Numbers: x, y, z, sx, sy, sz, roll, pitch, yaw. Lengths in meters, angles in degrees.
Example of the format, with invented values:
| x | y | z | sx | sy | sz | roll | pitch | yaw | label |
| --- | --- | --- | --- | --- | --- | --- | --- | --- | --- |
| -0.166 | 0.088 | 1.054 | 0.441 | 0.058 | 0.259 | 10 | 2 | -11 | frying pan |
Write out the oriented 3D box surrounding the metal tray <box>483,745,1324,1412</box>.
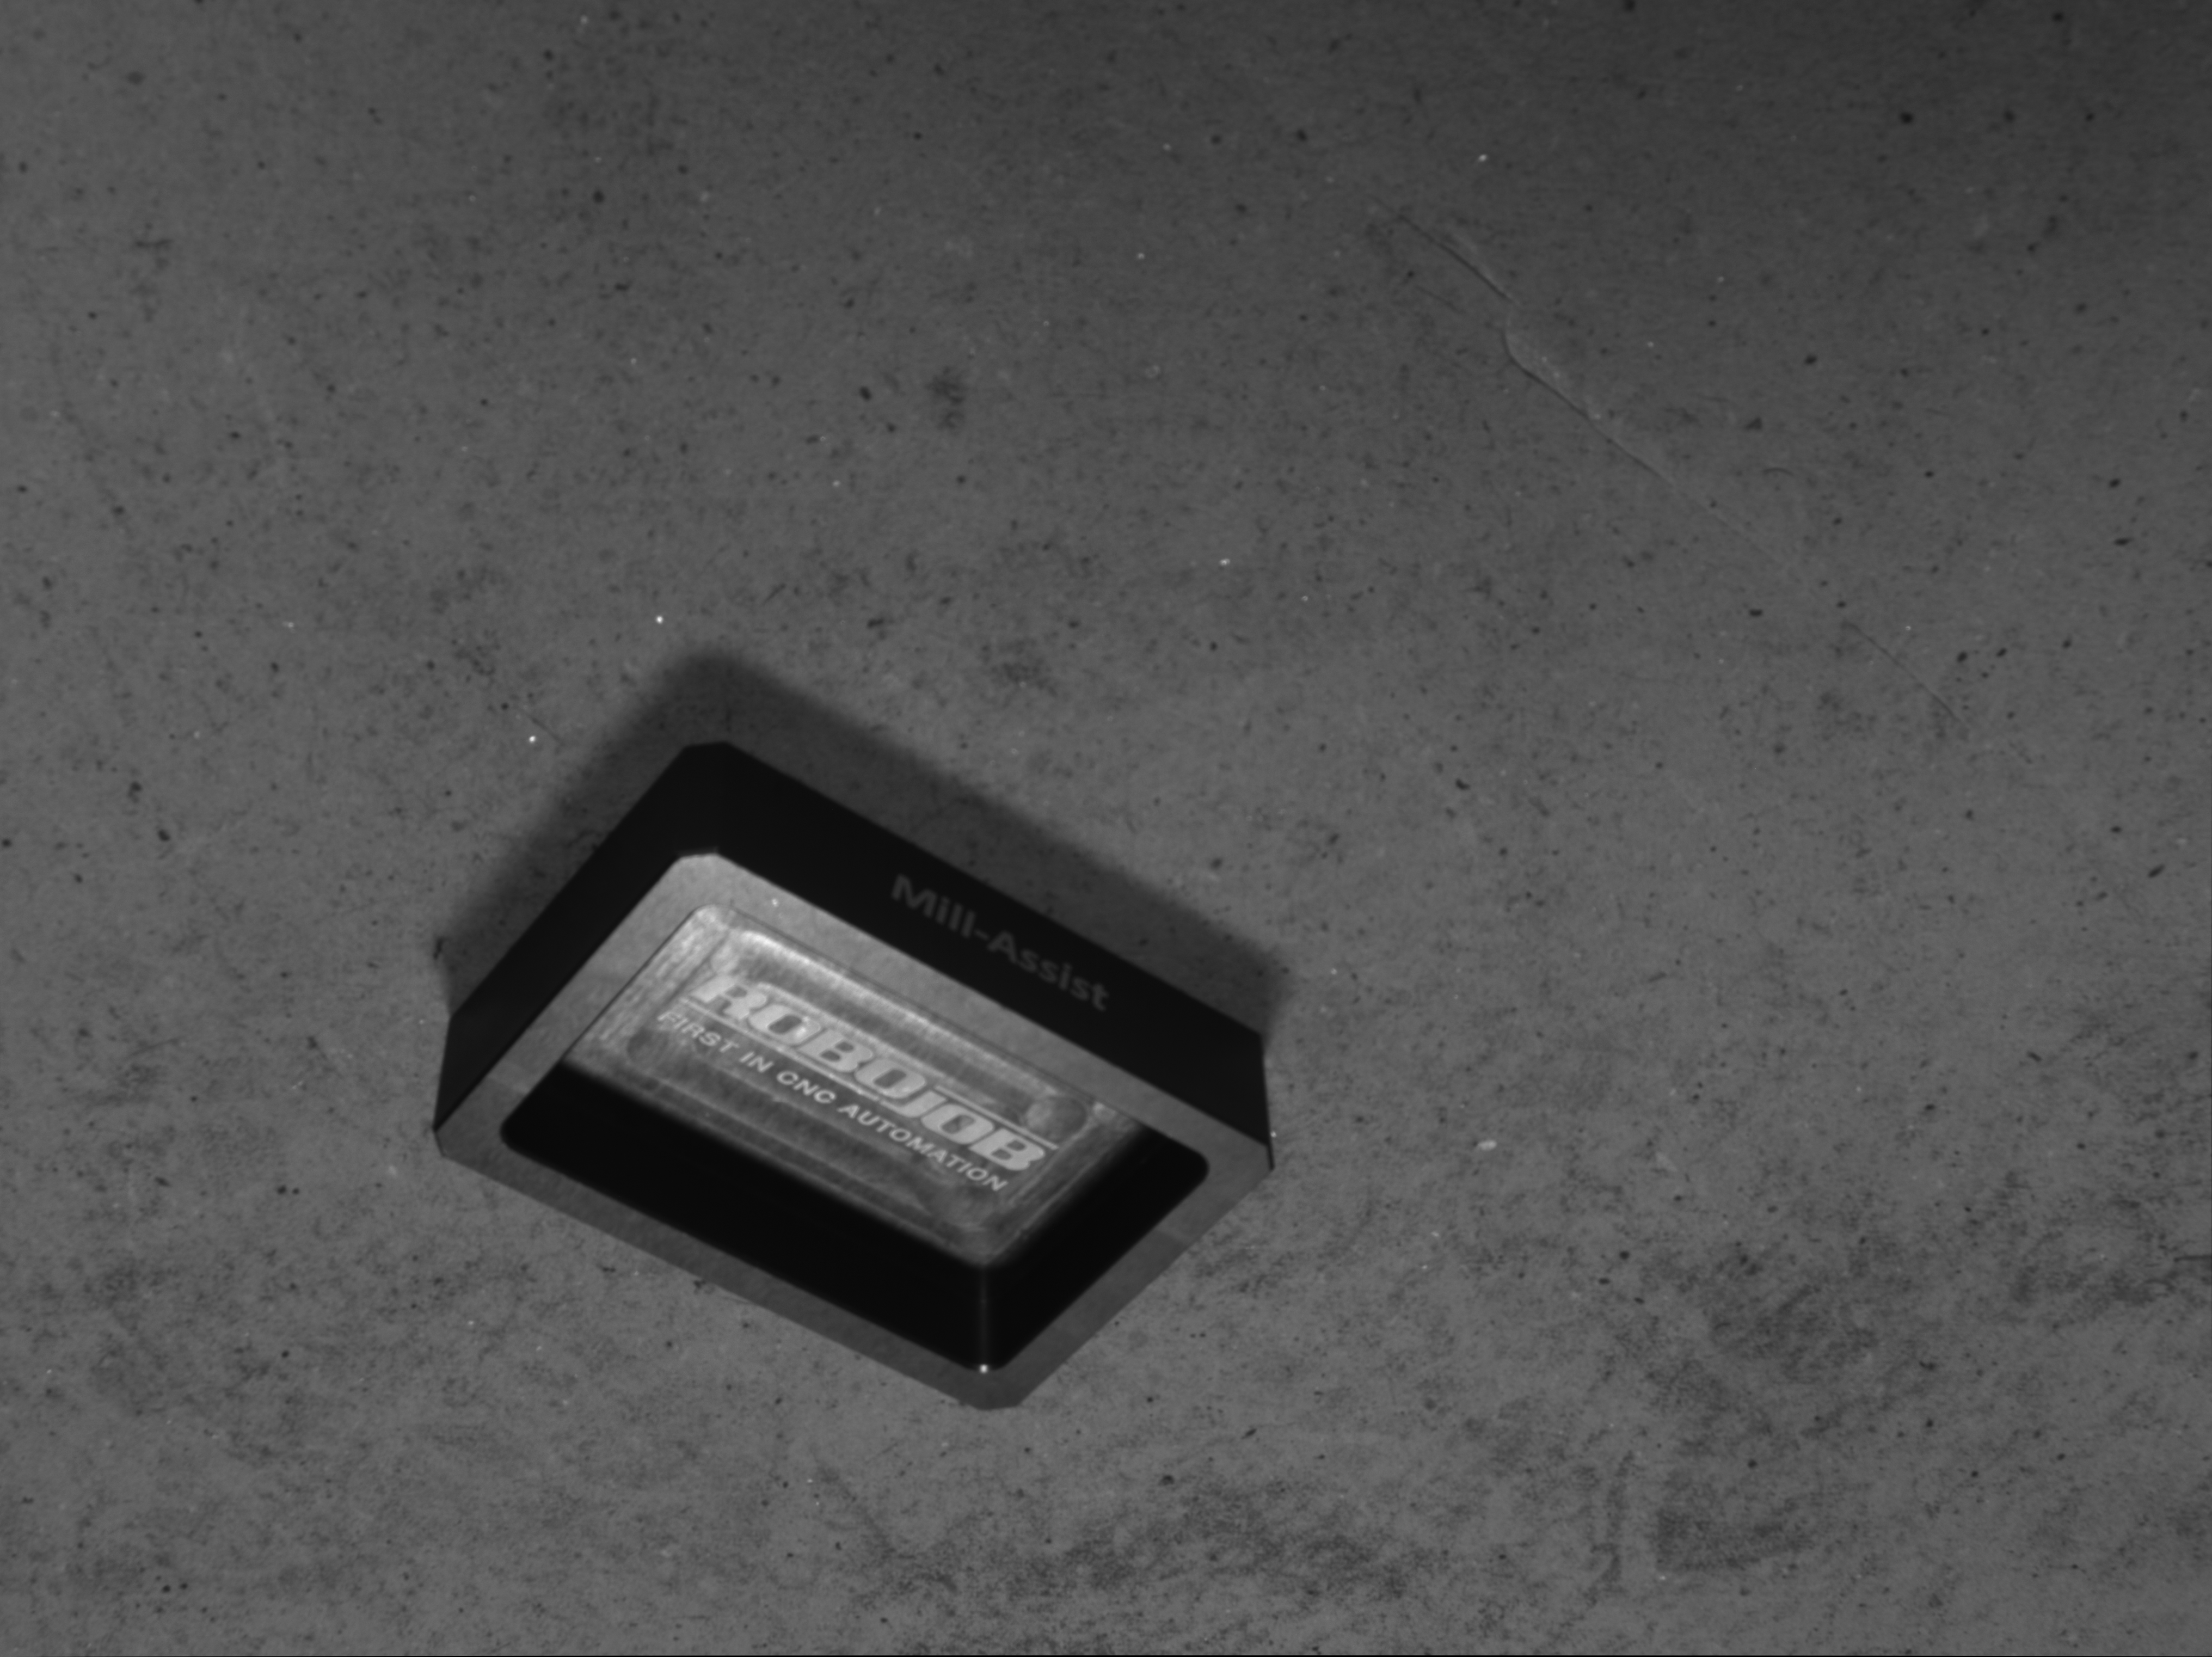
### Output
| x | y | z | sx | sy | sz | roll | pitch | yaw | label |
| --- | --- | --- | --- | --- | --- | --- | --- | --- | --- |
| -0.036 | 0.049 | 0.675 | 0.130 | 0.030 | 0.090 | 29 | 123 | -24 | metal tray |
